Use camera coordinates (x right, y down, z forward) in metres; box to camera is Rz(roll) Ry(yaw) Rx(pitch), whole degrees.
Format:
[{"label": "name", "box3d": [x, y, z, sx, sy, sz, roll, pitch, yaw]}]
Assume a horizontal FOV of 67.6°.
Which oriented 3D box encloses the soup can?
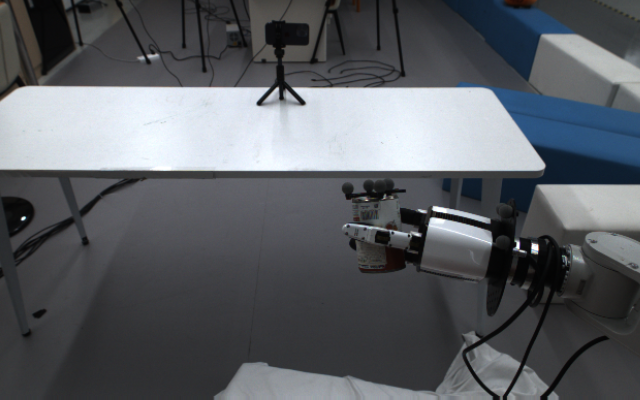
[{"label": "soup can", "box3d": [0.083, 0.046, 0.678, 0.067, 0.101, 0.067, -6, 3, 0]}]
